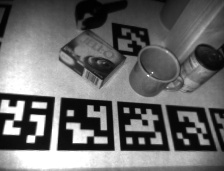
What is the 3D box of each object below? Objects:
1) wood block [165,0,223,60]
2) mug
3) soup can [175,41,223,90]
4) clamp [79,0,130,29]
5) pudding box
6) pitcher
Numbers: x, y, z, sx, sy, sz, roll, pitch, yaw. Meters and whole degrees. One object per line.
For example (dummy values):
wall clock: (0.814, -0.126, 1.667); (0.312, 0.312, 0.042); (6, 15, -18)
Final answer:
wood block: (0.218, -0.144, 0.492); (0.091, 0.205, 0.090); (3, 59, -19)
mug: (0.102, -0.026, 0.463); (0.117, 0.081, 0.094); (34, 54, 6)
soup can: (0.194, -0.041, 0.488); (0.068, 0.102, 0.067); (7, 61, -12)
clamp: (-0.033, -0.201, 0.557); (0.122, 0.036, 0.165); (33, 57, -6)
pudding box: (-0.044, -0.065, 0.468); (0.113, 0.038, 0.090); (36, 60, 6)
pitcher: (0.239, -0.255, 0.545); (0.190, 0.242, 0.132); (2, 58, -12)
